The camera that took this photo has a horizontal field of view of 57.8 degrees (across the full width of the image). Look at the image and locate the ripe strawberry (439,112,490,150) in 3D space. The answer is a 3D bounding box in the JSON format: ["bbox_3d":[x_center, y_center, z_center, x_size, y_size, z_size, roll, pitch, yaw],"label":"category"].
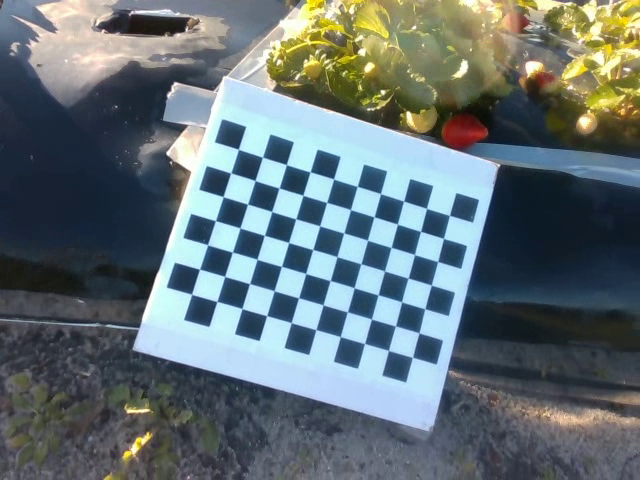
[{"bbox_3d":[0.155,-0.117,0.612,0.048,0.045,0.063,44,-8,-28],"label":"ripe strawberry"}]
